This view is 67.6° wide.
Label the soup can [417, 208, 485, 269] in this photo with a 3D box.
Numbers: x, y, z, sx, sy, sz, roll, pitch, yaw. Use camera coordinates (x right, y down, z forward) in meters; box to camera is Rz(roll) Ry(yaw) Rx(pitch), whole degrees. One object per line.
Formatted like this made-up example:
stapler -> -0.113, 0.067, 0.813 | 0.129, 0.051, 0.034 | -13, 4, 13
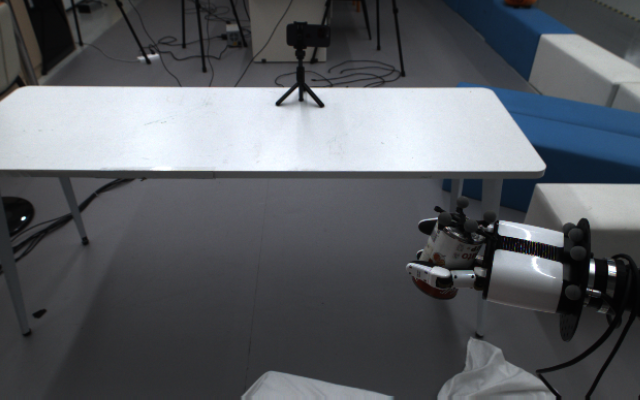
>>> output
soup can -> 0.176, 0.076, 0.665 | 0.067, 0.101, 0.067 | 13, 31, -8
